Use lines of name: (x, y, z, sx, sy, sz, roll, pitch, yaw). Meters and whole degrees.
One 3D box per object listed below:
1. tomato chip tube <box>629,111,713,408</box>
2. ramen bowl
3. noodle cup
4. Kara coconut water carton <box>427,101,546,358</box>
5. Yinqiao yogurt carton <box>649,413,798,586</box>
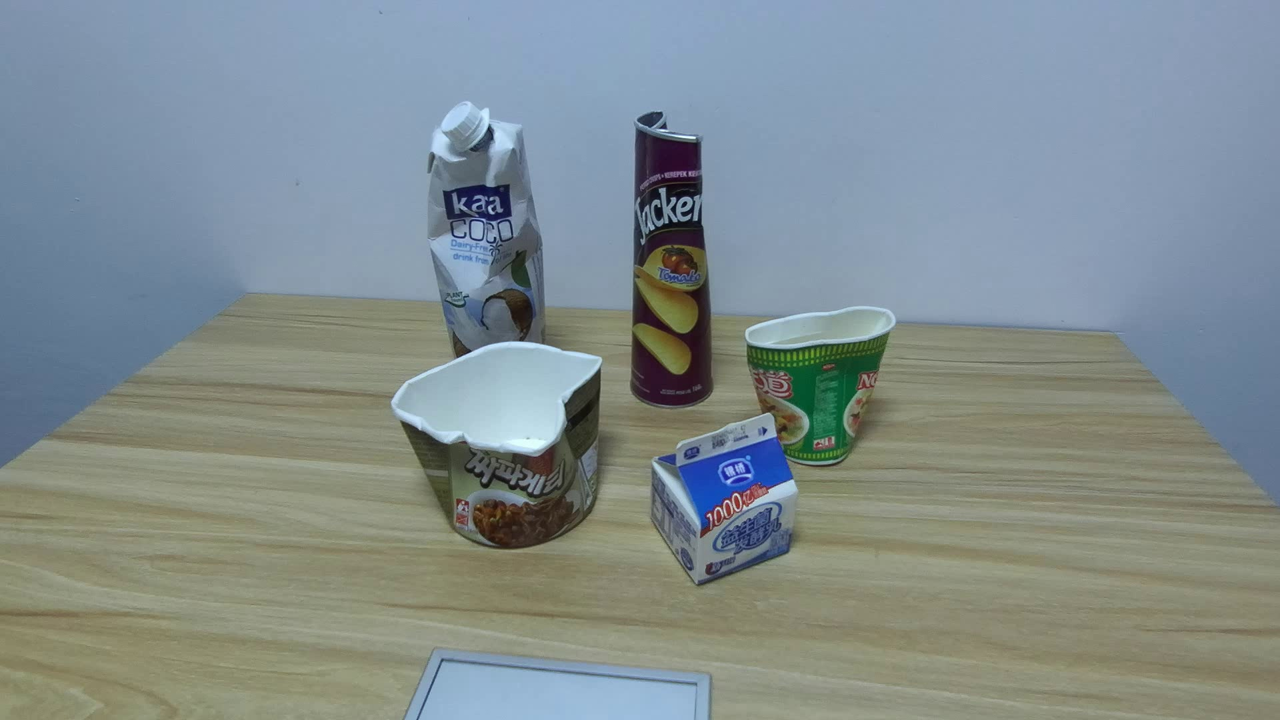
tomato chip tube: (0.028, -0.077, 0.588, 0.076, 0.235, 0.078, 14, 32, 24)
ramen bowl: (-0.098, 0.058, 0.500, 0.133, 0.097, 0.113, 6, 34, 7)
noodle cup: (0.135, 0.019, 0.545, 0.115, 0.111, 0.070, 1, 32, 3)
Kara coconut water carton: (-0.126, -0.085, 0.582, 0.083, 0.256, 0.078, 7, 35, 10)
Yinqiao yogurt carton: (0.053, 0.081, 0.462, 0.076, 0.092, 0.073, -14, 34, -20)
